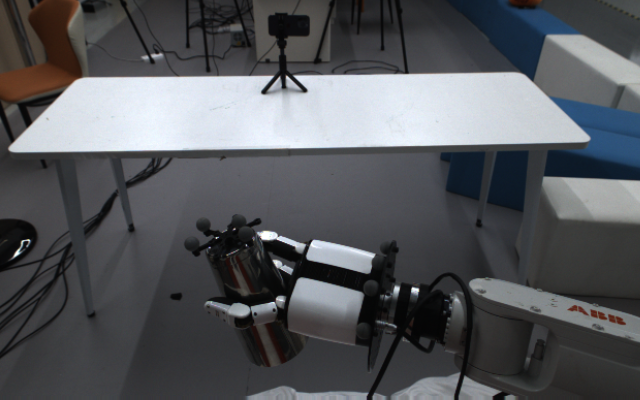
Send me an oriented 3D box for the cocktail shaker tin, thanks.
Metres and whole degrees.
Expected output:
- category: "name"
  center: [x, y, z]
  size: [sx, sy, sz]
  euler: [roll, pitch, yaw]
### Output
- category: "cocktail shaker tin"
  center: [-0.083, 0.122, 0.617]
  size: [0.093, 0.170, 0.093]
  euler: [-15, 27, 8]
